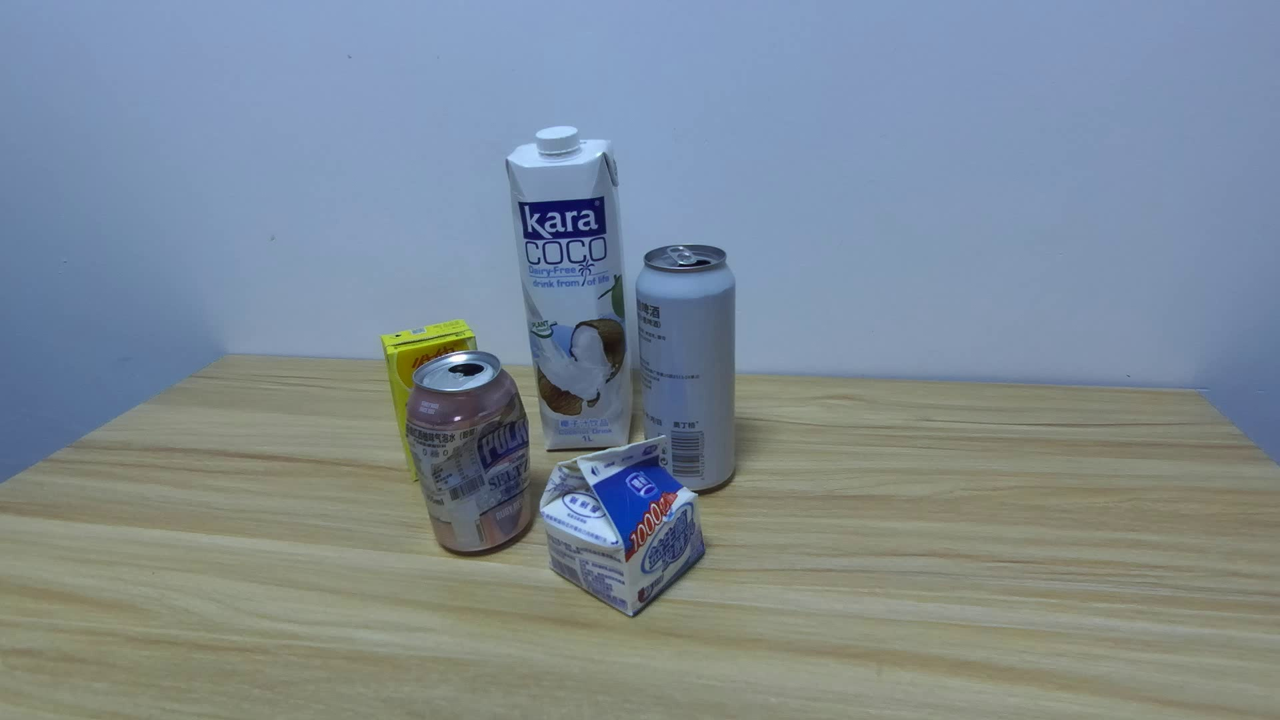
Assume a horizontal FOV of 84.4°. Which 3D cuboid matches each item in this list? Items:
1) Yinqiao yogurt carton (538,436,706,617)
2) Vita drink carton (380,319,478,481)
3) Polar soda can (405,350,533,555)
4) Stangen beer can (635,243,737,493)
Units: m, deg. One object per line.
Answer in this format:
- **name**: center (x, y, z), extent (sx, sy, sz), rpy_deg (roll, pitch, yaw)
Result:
- **Yinqiao yogurt carton**: center (-0.012, 0.087, 0.426), extent (0.077, 0.093, 0.083), rpy_deg (16, 31, 39)
- **Vita drink carton**: center (-0.159, 0.029, 0.559), extent (0.067, 0.109, 0.043), rpy_deg (-14, 28, -23)
- **Polar soda can**: center (-0.108, 0.061, 0.465), extent (0.074, 0.122, 0.067), rpy_deg (-9, 24, -10)
- **Stangen beer can**: center (0.034, 0.008, 0.497), extent (0.067, 0.171, 0.067), rpy_deg (-3, 24, 2)
